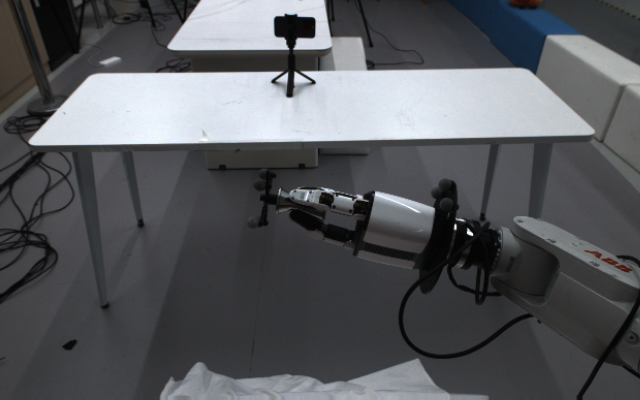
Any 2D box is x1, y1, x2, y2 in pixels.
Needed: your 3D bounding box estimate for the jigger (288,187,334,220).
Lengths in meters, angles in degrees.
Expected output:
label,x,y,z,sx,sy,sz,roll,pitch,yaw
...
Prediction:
label,x,y,z,sx,sy,sz,roll,pitch,yaw
jigger,-0.018,0.003,0.674,0.071,0.043,0.043,9,35,1
